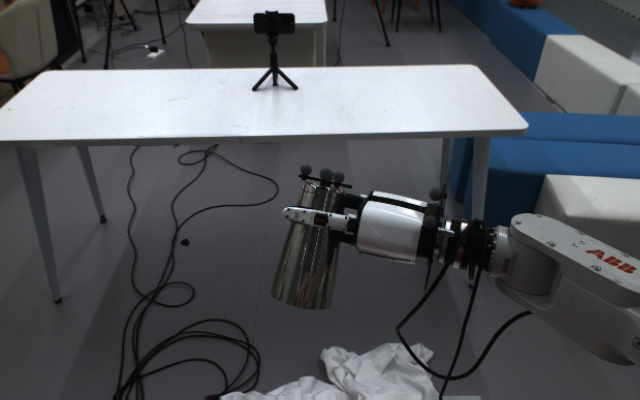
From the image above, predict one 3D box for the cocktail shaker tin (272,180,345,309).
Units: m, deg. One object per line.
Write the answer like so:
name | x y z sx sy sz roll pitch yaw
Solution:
cocktail shaker tin | -0.009 0.062 0.714 0.093 0.170 0.093 12 3 -1
